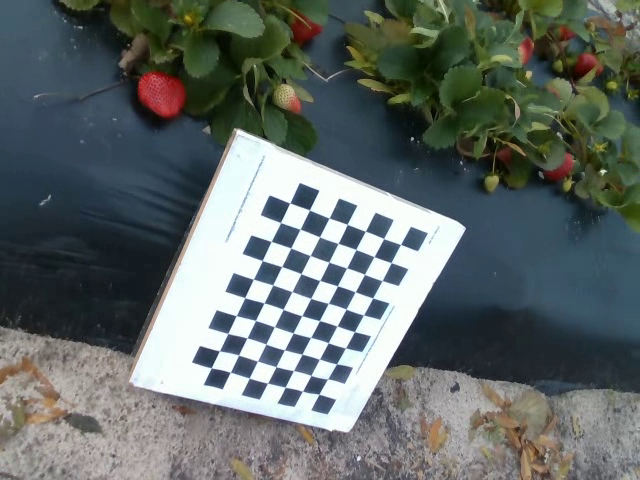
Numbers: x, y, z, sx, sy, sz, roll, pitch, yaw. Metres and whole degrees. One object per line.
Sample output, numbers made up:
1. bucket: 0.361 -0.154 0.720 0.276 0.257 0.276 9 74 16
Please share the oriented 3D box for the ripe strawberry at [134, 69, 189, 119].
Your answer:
1. ripe strawberry: -0.122 -0.108 0.435 0.037 0.046 0.037 -20 -24 0
